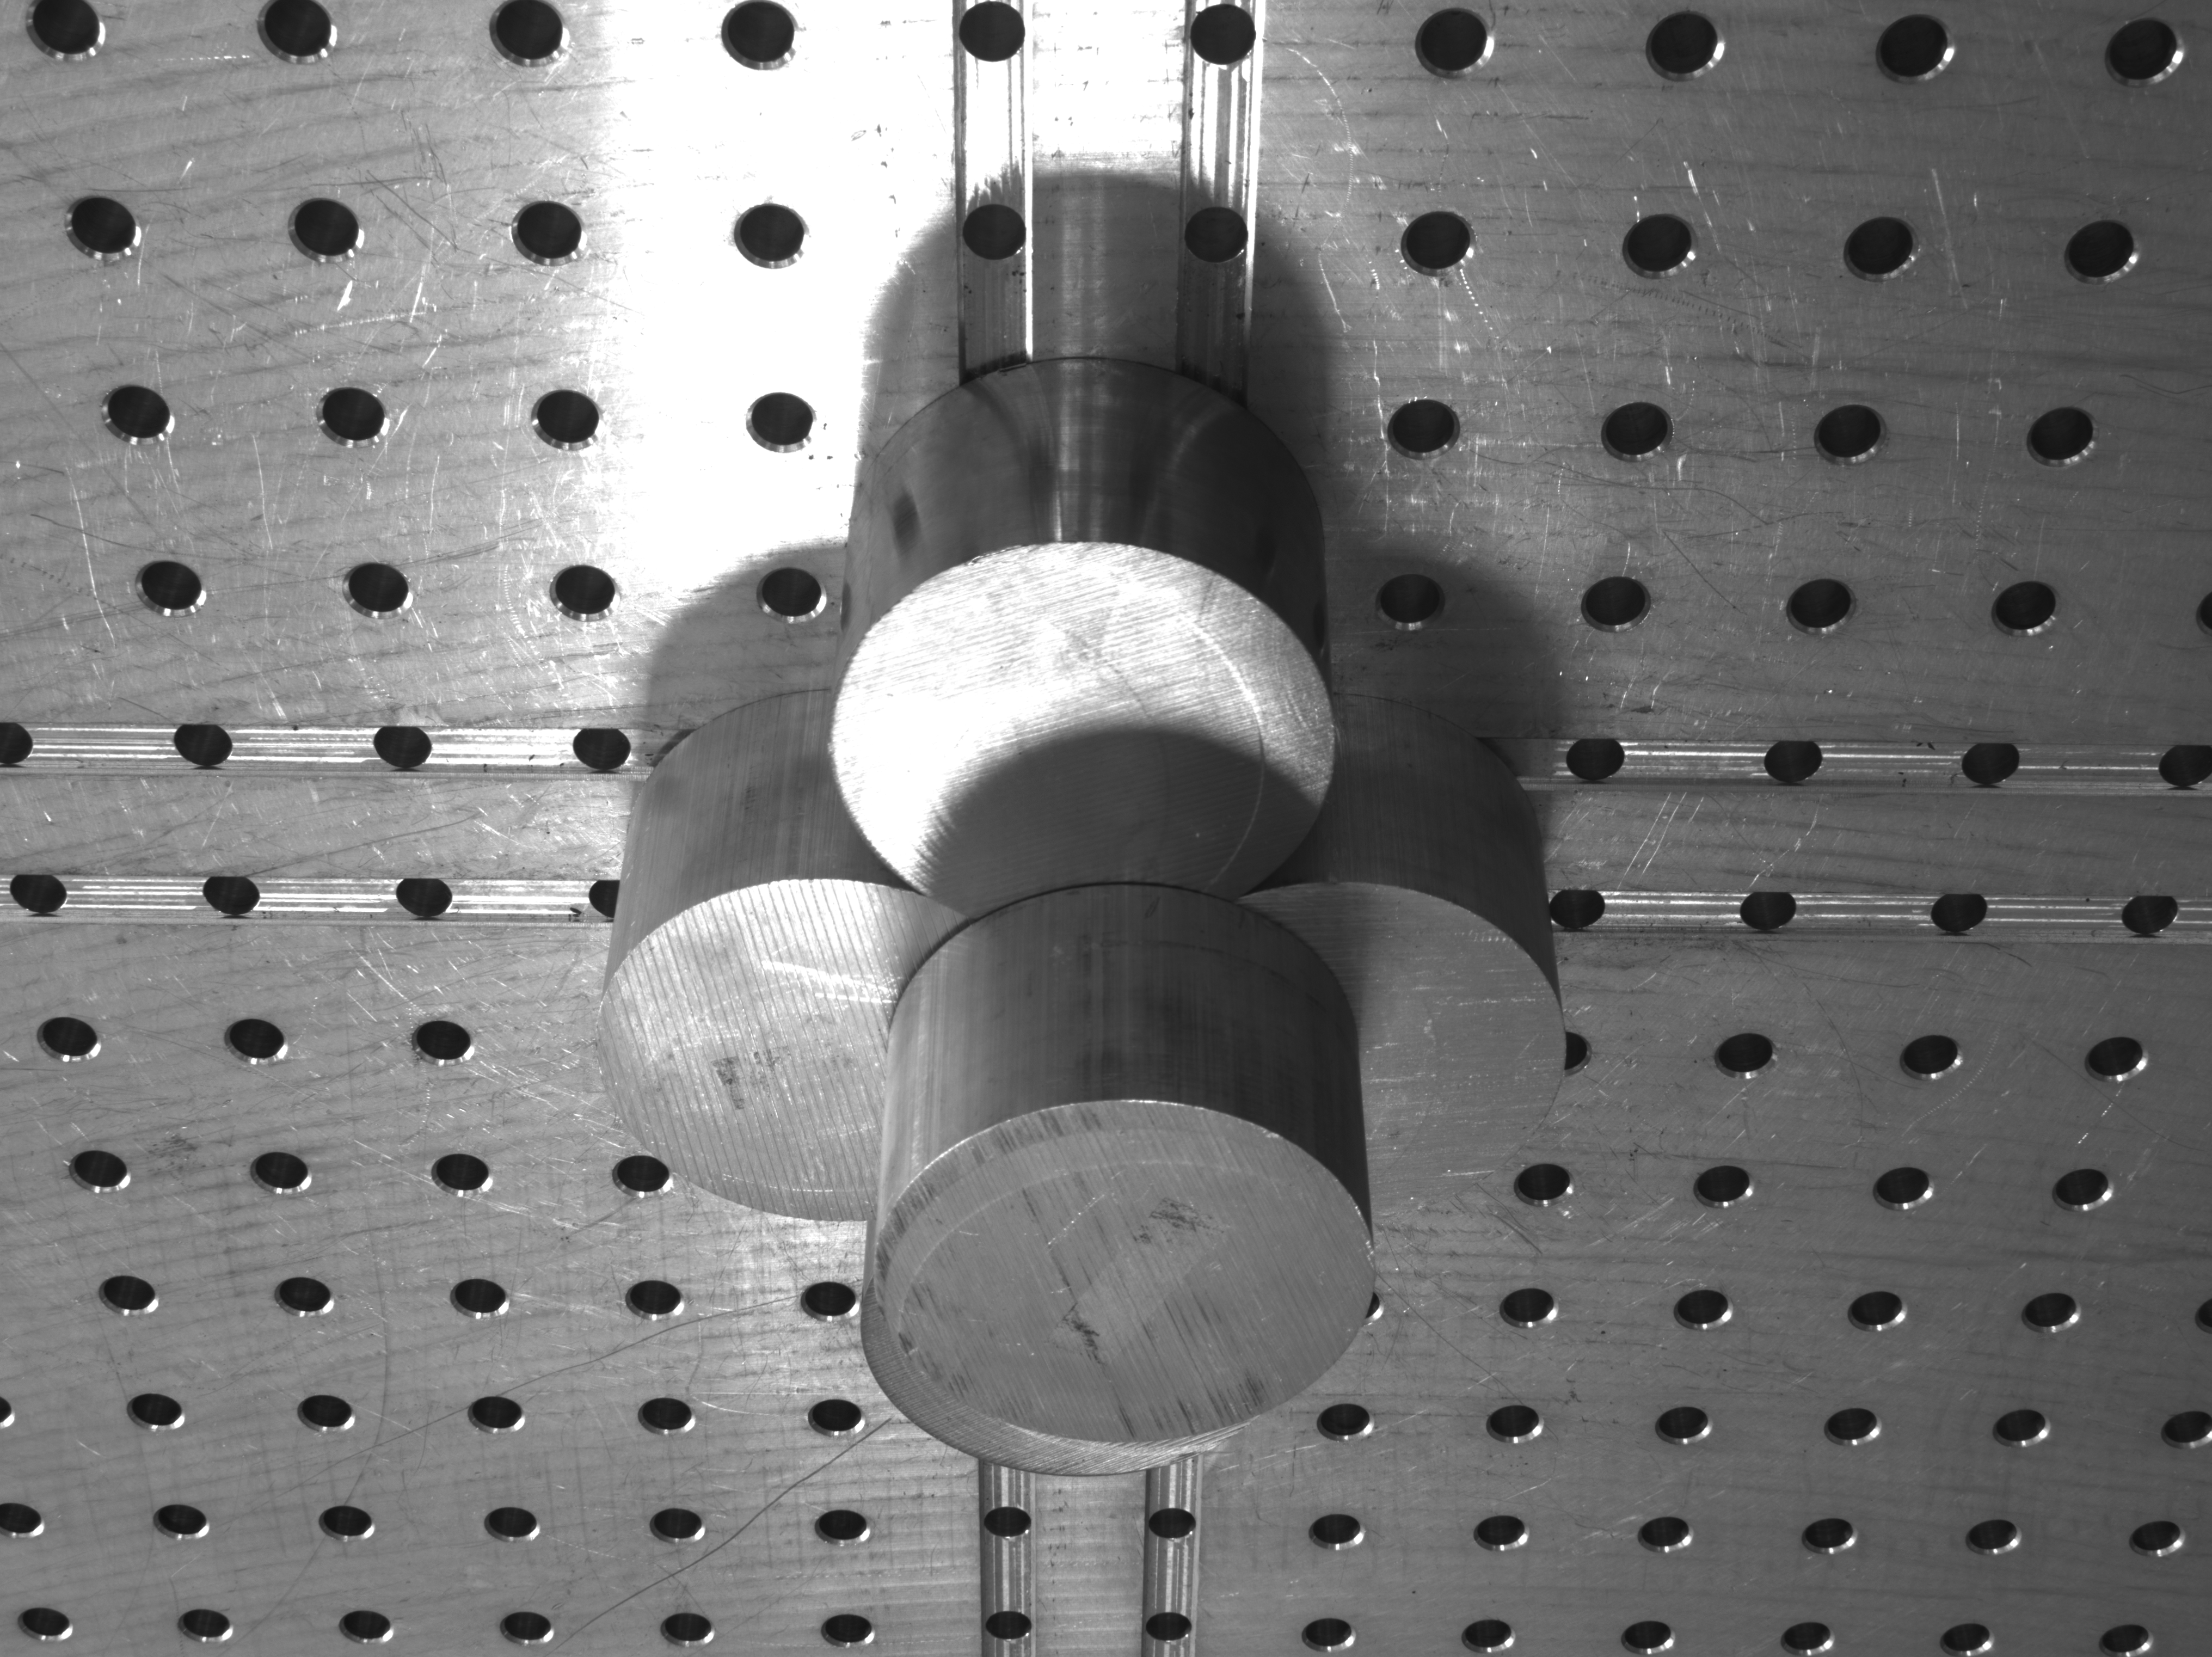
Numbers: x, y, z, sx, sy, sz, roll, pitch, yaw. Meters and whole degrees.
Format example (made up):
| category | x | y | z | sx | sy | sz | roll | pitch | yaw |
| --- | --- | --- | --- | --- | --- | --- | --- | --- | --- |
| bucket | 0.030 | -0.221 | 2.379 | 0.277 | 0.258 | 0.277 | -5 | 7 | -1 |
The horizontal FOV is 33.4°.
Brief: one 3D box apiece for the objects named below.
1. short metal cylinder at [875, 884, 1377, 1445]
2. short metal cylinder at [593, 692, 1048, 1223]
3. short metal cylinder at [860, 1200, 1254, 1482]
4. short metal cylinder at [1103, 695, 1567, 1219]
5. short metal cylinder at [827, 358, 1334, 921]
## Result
| category | x | y | z | sx | sy | sz | roll | pitch | yaw |
| --- | --- | --- | --- | --- | --- | --- | --- | --- | --- |
| short metal cylinder | 0.003 | 0.056 | 0.606 | 0.080 | 0.050 | 0.080 | 0 | 130 | 0 |
| short metal cylinder | -0.047 | 0.023 | 0.645 | 0.080 | 0.050 | 0.080 | 0 | 130 | 0 |
| short metal cylinder | -0.005 | 0.076 | 0.689 | 0.080 | 0.050 | 0.080 | 0 | 128 | 0 |
| short metal cylinder | 0.038 | 0.024 | 0.645 | 0.080 | 0.050 | 0.080 | 0 | 130 | 0 |
| short metal cylinder | -0.004 | -0.029 | 0.601 | 0.080 | 0.050 | 0.080 | -1 | 130 | -1 |
